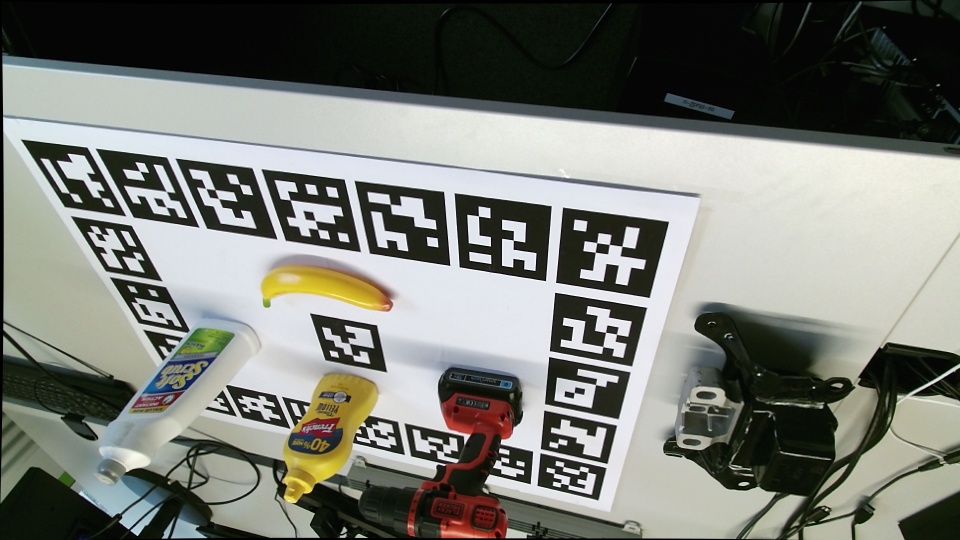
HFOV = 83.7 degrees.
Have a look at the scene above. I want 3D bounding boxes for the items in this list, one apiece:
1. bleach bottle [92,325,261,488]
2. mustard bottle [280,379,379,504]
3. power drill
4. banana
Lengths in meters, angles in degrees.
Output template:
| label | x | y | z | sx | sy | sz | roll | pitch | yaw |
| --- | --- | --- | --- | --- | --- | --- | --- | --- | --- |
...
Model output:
| label | x | y | z | sx | sy | sz | roll | pitch | yaw |
| --- | --- | --- | --- | --- | --- | --- | --- | --- | --- |
| bleach bottle | -0.424 | 0.188 | 0.754 | 0.103 | 0.250 | 0.068 | 15 | 130 | 7 |
| mustard bottle | -0.229 | 0.247 | 0.777 | 0.096 | 0.191 | 0.058 | 3 | 128 | 19 |
| power drill | -0.055 | 0.256 | 0.685 | 0.185 | 0.186 | 0.057 | 2 | 127 | 13 |
| banana | -0.213 | 0.041 | 0.693 | 0.198 | 0.039 | 0.074 | 3 | 126 | 13 |
